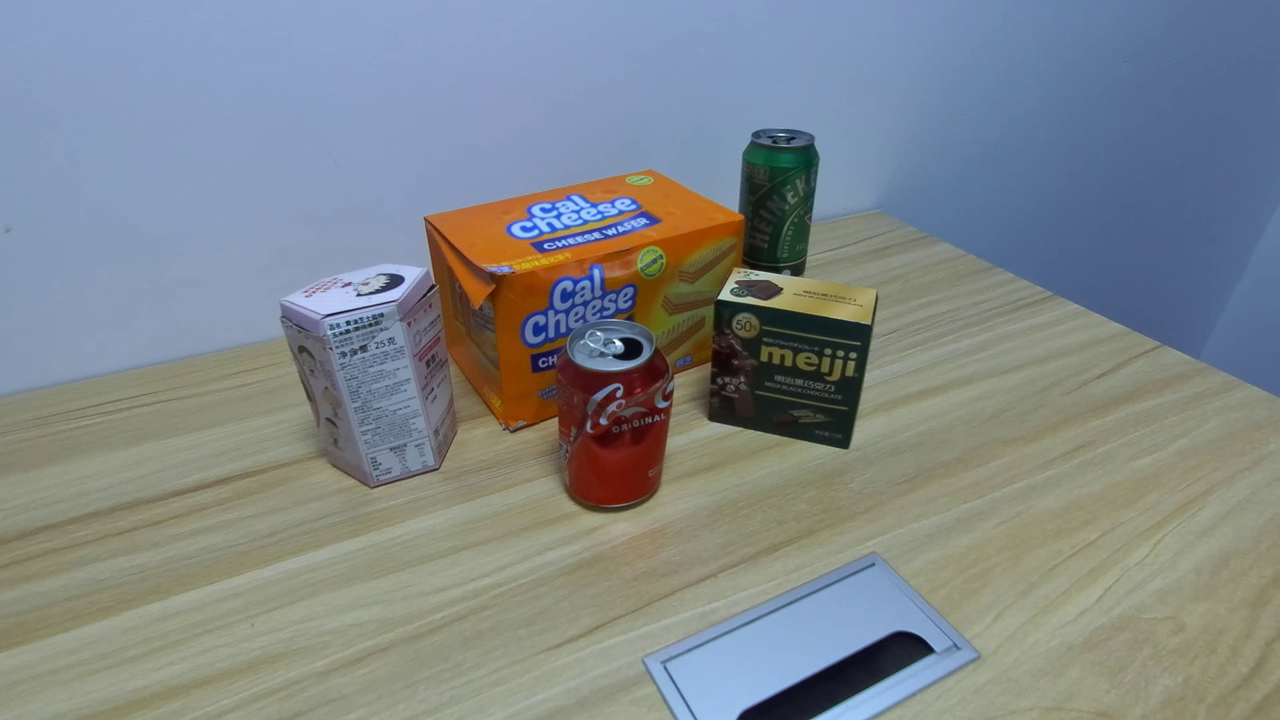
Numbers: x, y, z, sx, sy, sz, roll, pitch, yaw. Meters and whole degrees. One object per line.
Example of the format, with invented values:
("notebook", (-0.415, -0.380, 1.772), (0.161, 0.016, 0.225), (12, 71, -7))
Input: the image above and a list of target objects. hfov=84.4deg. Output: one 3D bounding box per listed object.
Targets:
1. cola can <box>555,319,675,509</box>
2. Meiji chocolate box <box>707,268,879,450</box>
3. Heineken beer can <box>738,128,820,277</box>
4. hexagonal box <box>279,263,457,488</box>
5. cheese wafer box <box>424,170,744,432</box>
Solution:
("cola can", (-0.019, 0.036, 0.456), (0.067, 0.117, 0.065), (-26, 41, -34))
("Meiji chocolate box", (0.110, -0.001, 0.516), (0.109, 0.109, 0.056), (11, 35, 16))
("Heineken beer can", (0.121, -0.118, 0.642), (0.067, 0.169, 0.067), (0, 32, 0))
("hexagonal box", (-0.179, 0.008, 0.485), (0.085, 0.135, 0.092), (3, 33, 5))
("cheese wafer box", (-0.045, -0.063, 0.592), (0.228, 0.137, 0.149), (-18, 37, -26))
